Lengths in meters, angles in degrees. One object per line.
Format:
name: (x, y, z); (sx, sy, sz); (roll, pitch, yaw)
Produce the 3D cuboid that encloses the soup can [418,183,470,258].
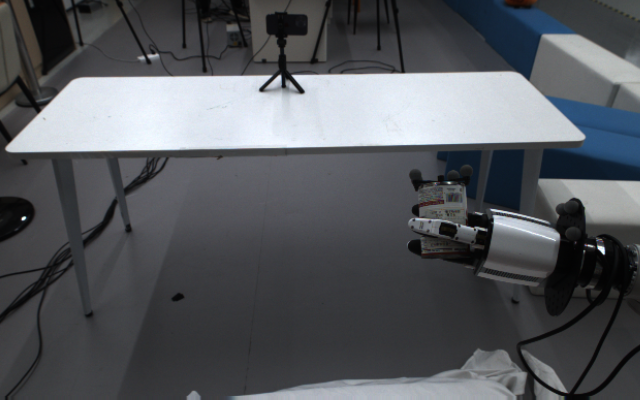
soup can: (0.174, 0.030, 0.677); (0.067, 0.101, 0.067); (-1, -9, 0)
